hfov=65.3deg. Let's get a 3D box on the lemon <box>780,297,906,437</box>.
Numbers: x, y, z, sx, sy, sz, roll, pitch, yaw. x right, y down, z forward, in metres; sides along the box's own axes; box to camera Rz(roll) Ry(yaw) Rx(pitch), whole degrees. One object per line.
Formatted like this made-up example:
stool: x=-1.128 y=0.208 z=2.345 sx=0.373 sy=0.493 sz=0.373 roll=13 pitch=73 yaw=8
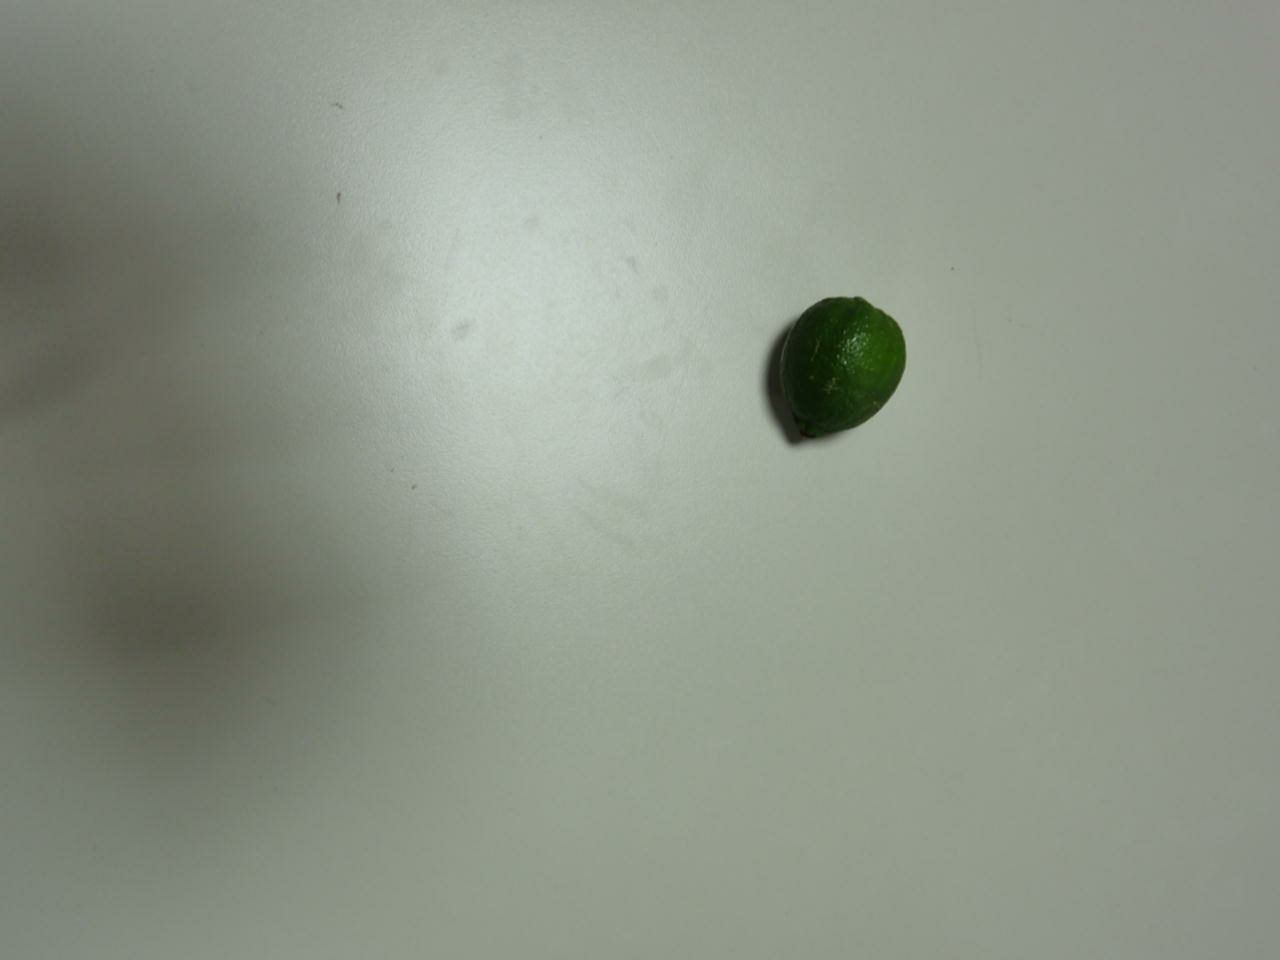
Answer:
lemon: x=0.088 y=-0.051 z=0.432 sx=0.054 sy=0.051 sz=0.057 roll=-14 pitch=94 yaw=-11
